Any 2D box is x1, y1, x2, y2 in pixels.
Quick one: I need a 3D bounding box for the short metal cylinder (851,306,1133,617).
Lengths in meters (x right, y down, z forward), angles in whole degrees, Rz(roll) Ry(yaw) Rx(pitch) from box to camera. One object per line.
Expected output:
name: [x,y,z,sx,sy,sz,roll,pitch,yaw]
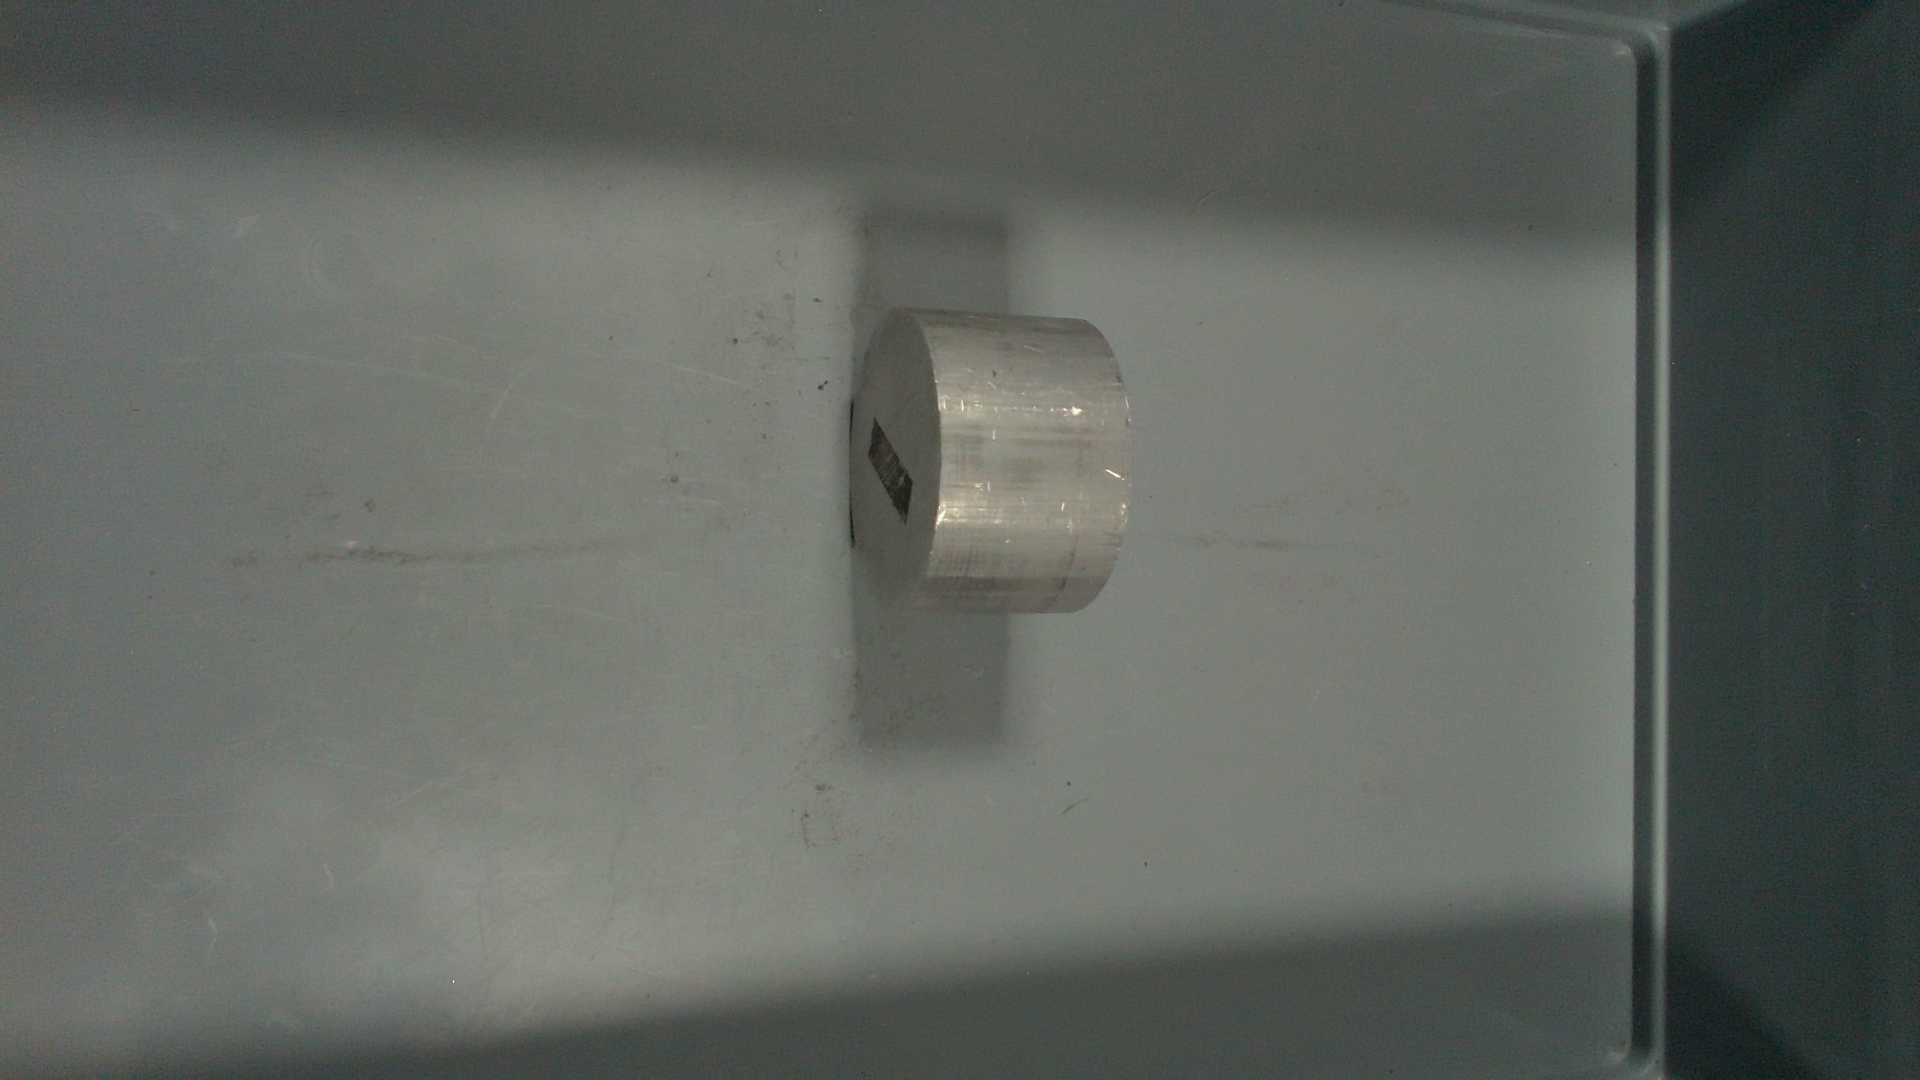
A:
short metal cylinder: [0.005,-0.020,0.364,0.050,0.080,0.080,0,90,-20]
